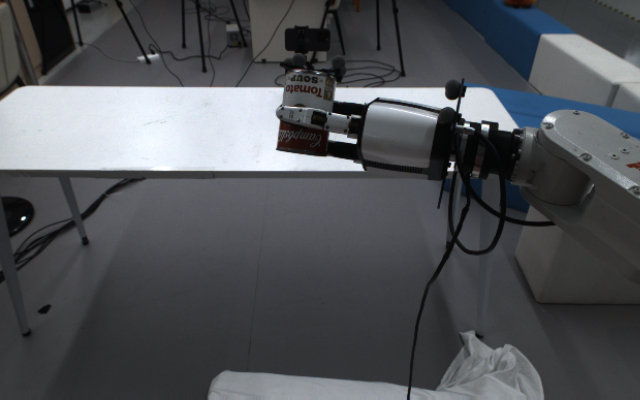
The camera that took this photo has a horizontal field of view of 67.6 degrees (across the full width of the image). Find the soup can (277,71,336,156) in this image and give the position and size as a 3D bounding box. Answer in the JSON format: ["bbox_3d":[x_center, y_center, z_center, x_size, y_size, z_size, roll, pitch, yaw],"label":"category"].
[{"bbox_3d":[-0.017,-0.111,0.630,0.067,0.101,0.067,7,4,0],"label":"soup can"}]
